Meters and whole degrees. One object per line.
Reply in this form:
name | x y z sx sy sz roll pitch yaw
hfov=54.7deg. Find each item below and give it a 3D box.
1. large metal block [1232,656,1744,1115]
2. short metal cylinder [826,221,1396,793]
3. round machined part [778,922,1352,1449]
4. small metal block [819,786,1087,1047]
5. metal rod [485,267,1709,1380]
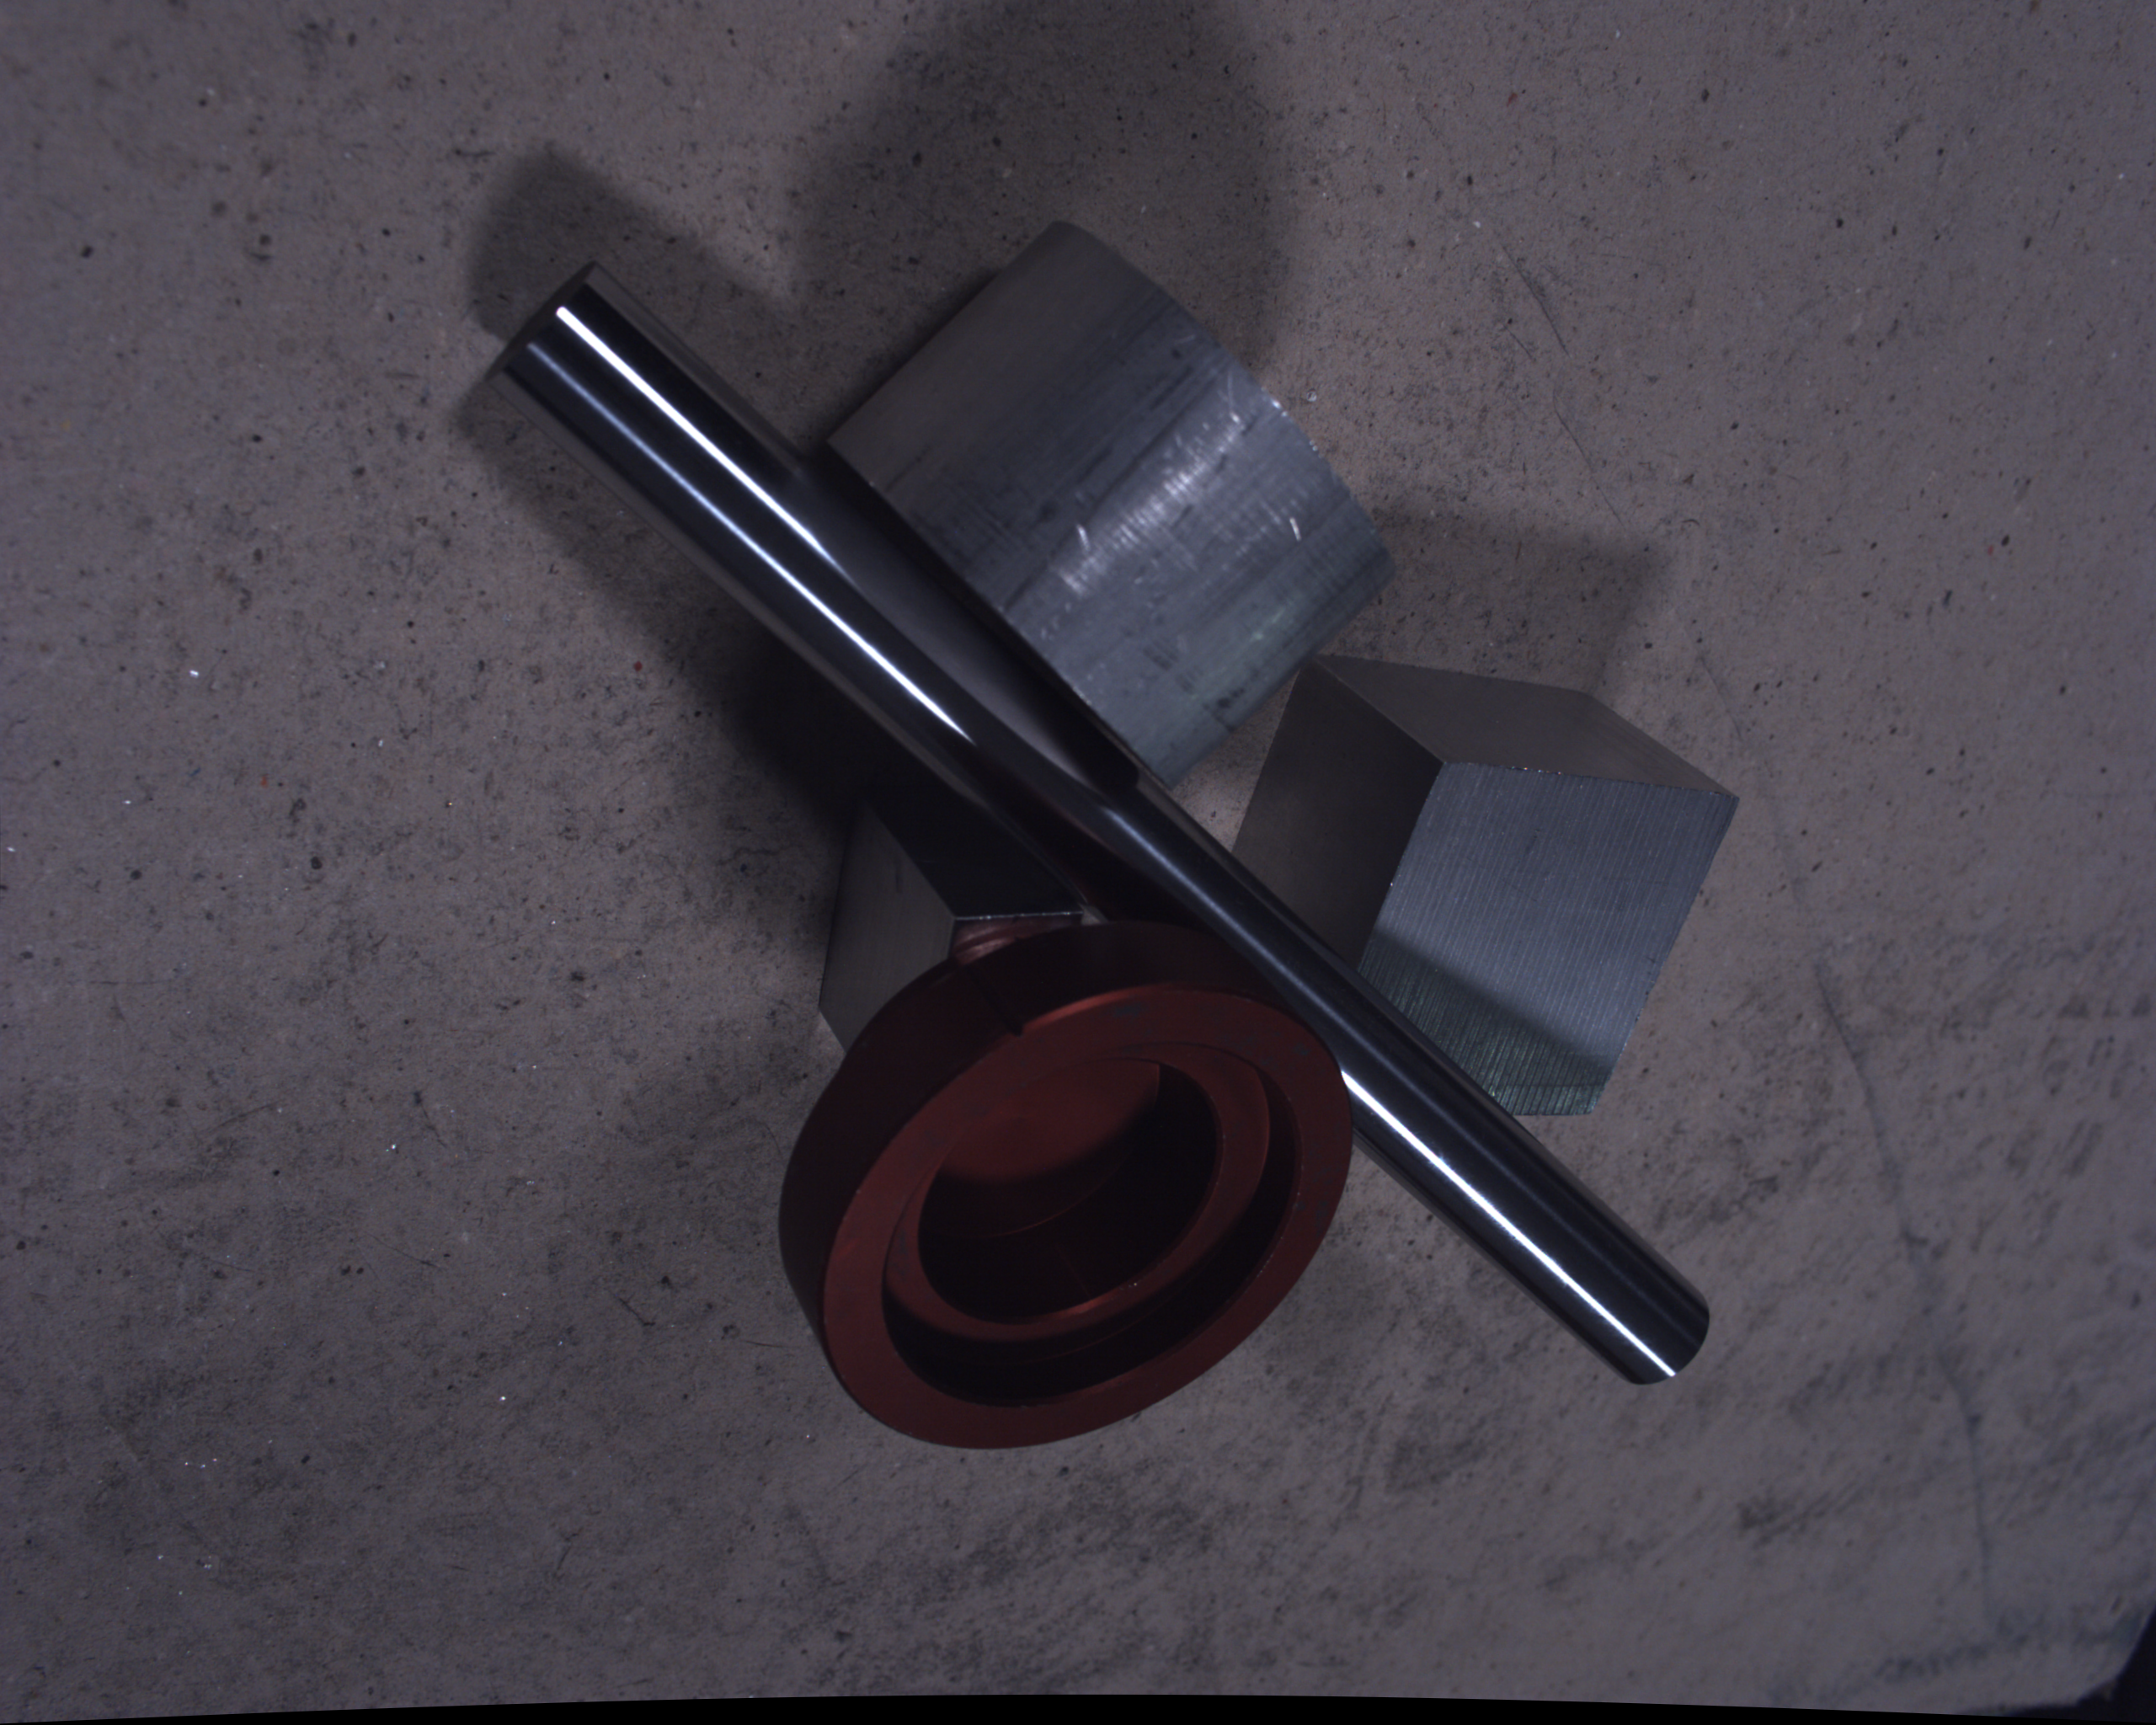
large metal block | 0.080 0.006 0.442 0.081 0.050 0.079 4 116 -31
short metal cylinder | 0.005 -0.057 0.342 0.050 0.080 0.080 -45 130 2
round machined part | -0.005 0.051 0.364 0.099 0.042 0.097 -14 126 -20
small metal block | -0.025 0.019 0.392 0.025 0.050 0.050 -2 120 -28
metal rod | 0.021 0.009 0.379 0.025 0.025 0.300 -47 115 4
